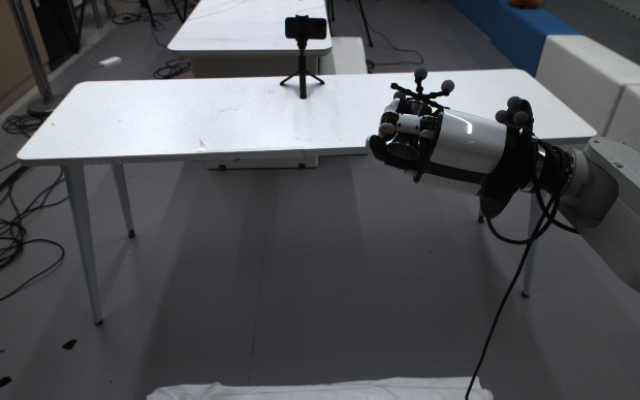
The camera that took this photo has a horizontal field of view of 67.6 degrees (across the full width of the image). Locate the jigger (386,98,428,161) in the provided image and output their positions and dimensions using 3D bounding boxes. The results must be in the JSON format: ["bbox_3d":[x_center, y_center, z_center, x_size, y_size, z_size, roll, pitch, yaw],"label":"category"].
[{"bbox_3d":[0.122,-0.095,0.643,0.043,0.043,0.071,14,71,17],"label":"jigger"}]
